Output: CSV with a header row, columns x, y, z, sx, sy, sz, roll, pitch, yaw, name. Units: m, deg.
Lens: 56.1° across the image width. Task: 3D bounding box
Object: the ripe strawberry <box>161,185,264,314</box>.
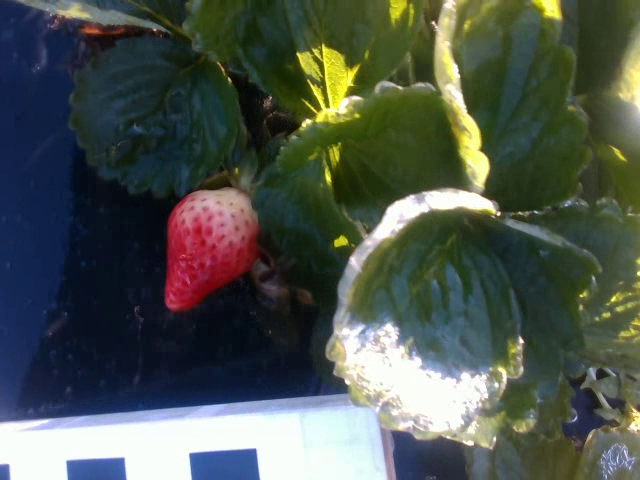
x,y,z,sx,sy,sz,roll,pitch,yaw,name
-0.055,0.004,0.251,0.040,0.065,0.040,33,5,10,ripe strawberry
